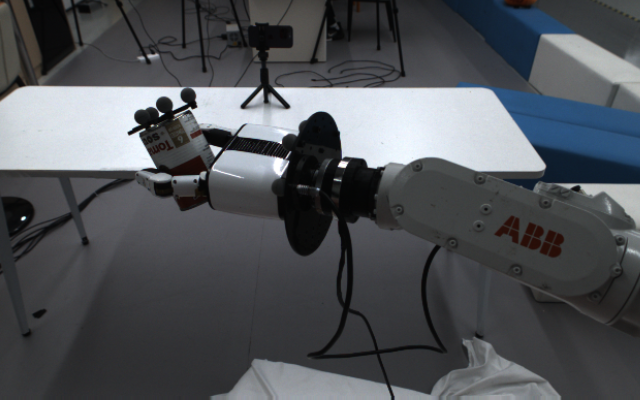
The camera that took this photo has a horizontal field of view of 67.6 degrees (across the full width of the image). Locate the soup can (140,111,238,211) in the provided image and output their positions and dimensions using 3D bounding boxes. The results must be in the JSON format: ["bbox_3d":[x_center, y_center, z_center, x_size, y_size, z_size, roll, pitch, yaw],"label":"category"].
[{"bbox_3d":[-0.160,-0.046,0.578,0.067,0.101,0.067,-23,16,7],"label":"soup can"}]
